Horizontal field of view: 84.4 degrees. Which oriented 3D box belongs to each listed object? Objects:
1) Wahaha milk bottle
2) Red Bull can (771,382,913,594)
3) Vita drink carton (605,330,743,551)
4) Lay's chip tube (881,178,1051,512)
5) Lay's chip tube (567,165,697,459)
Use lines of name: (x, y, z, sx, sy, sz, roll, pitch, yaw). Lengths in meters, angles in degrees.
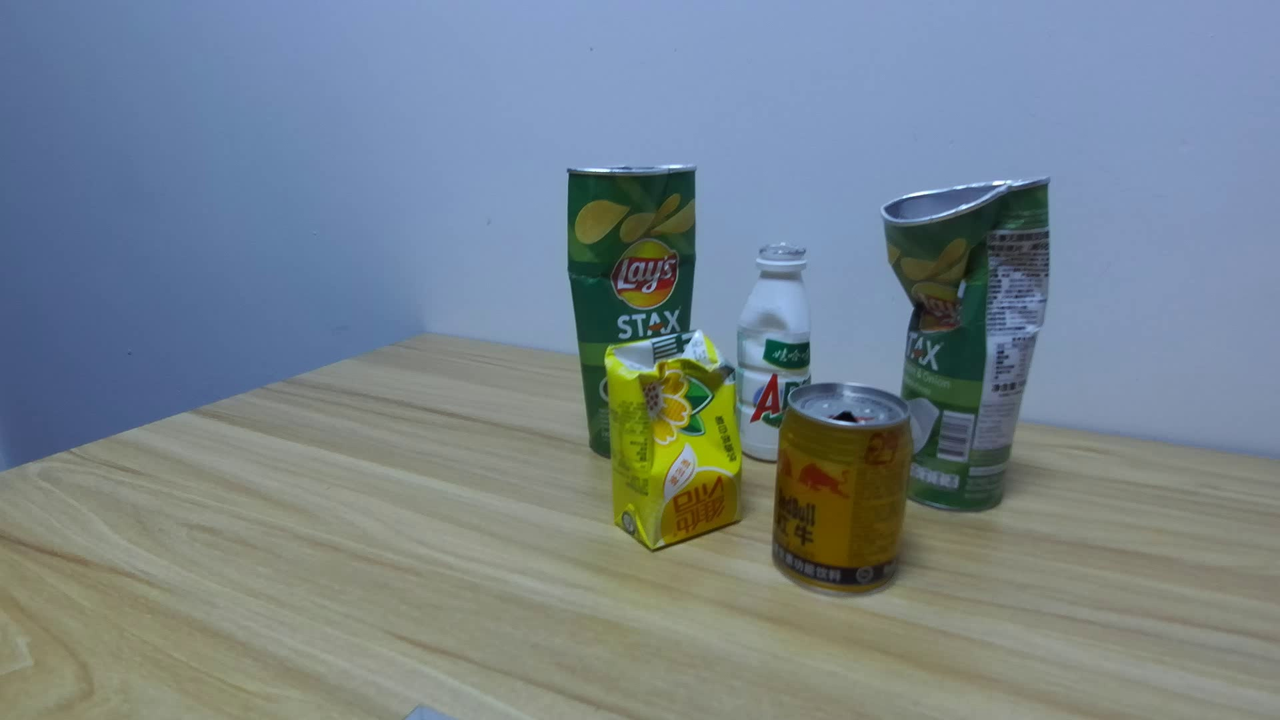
Wahaha milk bottle: (0.093, -0.004, 0.485, 0.055, 0.149, 0.055, 2, 12, 0)
Red Bull can: (0.102, 0.064, 0.363, 0.067, 0.093, 0.067, 1, 18, 0)
Vita drink carton: (0.021, 0.044, 0.400, 0.071, 0.109, 0.046, -11, 19, -29)
Lay's chip tube: (0.188, -0.006, 0.427, 0.071, 0.199, 0.078, -19, 23, -26)
Lay's chip tube: (-0.003, -0.033, 0.500, 0.068, 0.199, 0.075, 7, 18, 24)
